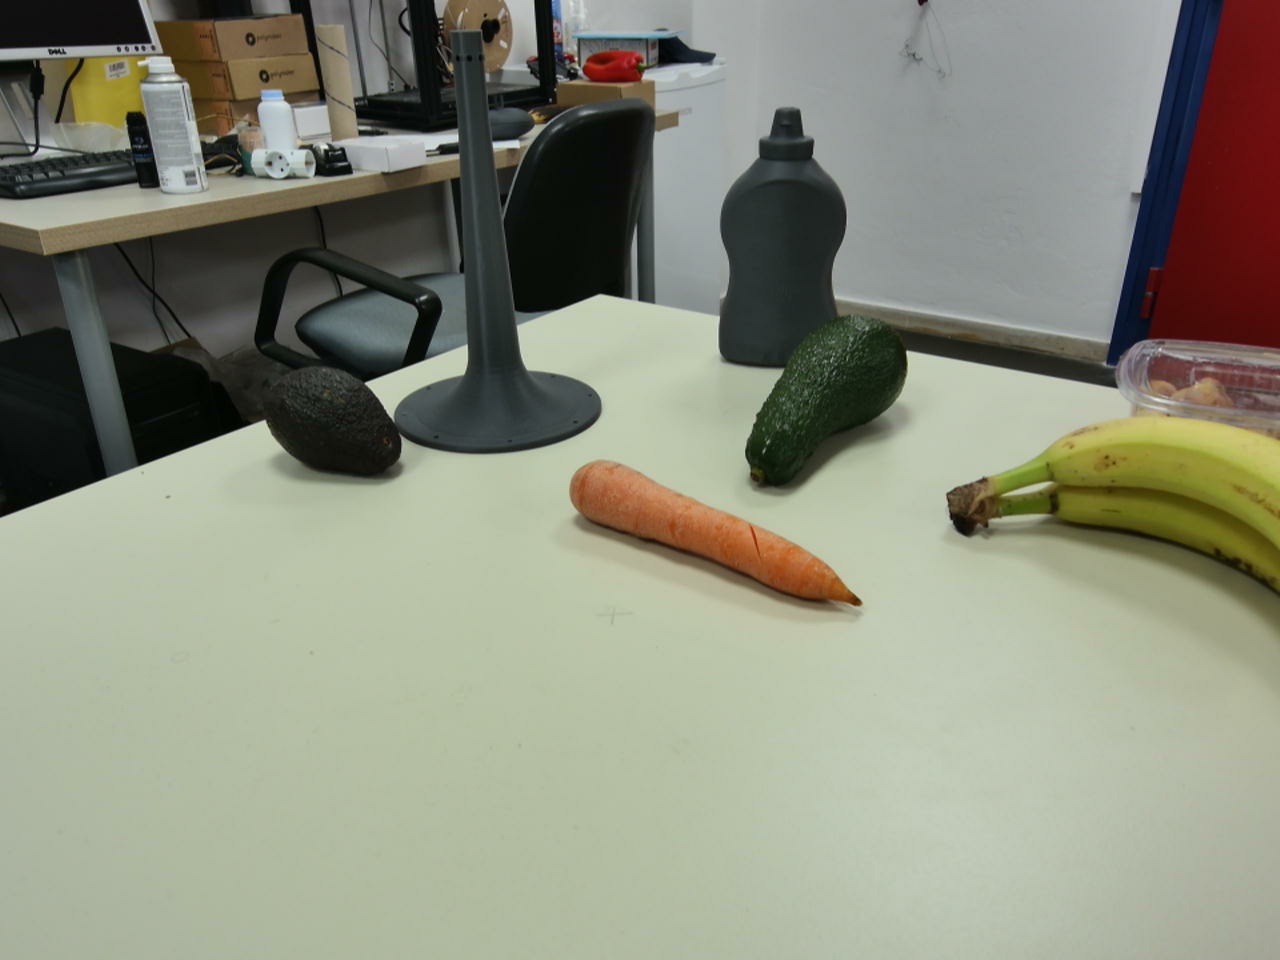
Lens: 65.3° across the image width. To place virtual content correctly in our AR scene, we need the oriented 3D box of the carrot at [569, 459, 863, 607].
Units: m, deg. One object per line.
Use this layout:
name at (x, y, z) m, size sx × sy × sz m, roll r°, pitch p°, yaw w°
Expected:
carrot at (0.040, 0.027, 0.572) m, size 0.196 × 0.041 × 0.039 m, roll 18°, pitch 30°, yaw 33°
